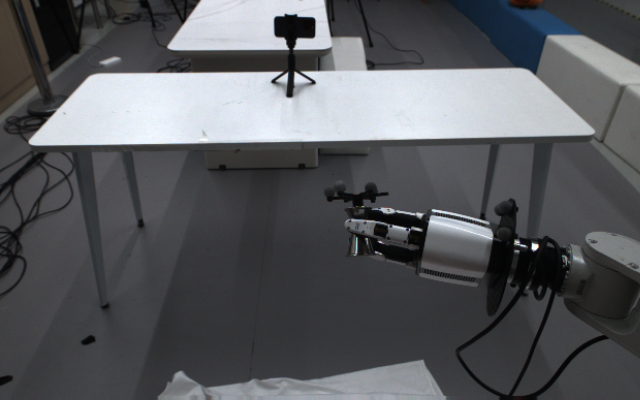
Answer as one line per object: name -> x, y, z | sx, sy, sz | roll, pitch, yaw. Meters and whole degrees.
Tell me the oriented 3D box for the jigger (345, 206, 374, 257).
jigger -> 0.056, 0.044, 0.685 | 0.043, 0.071, 0.043 | -2, -7, 0
